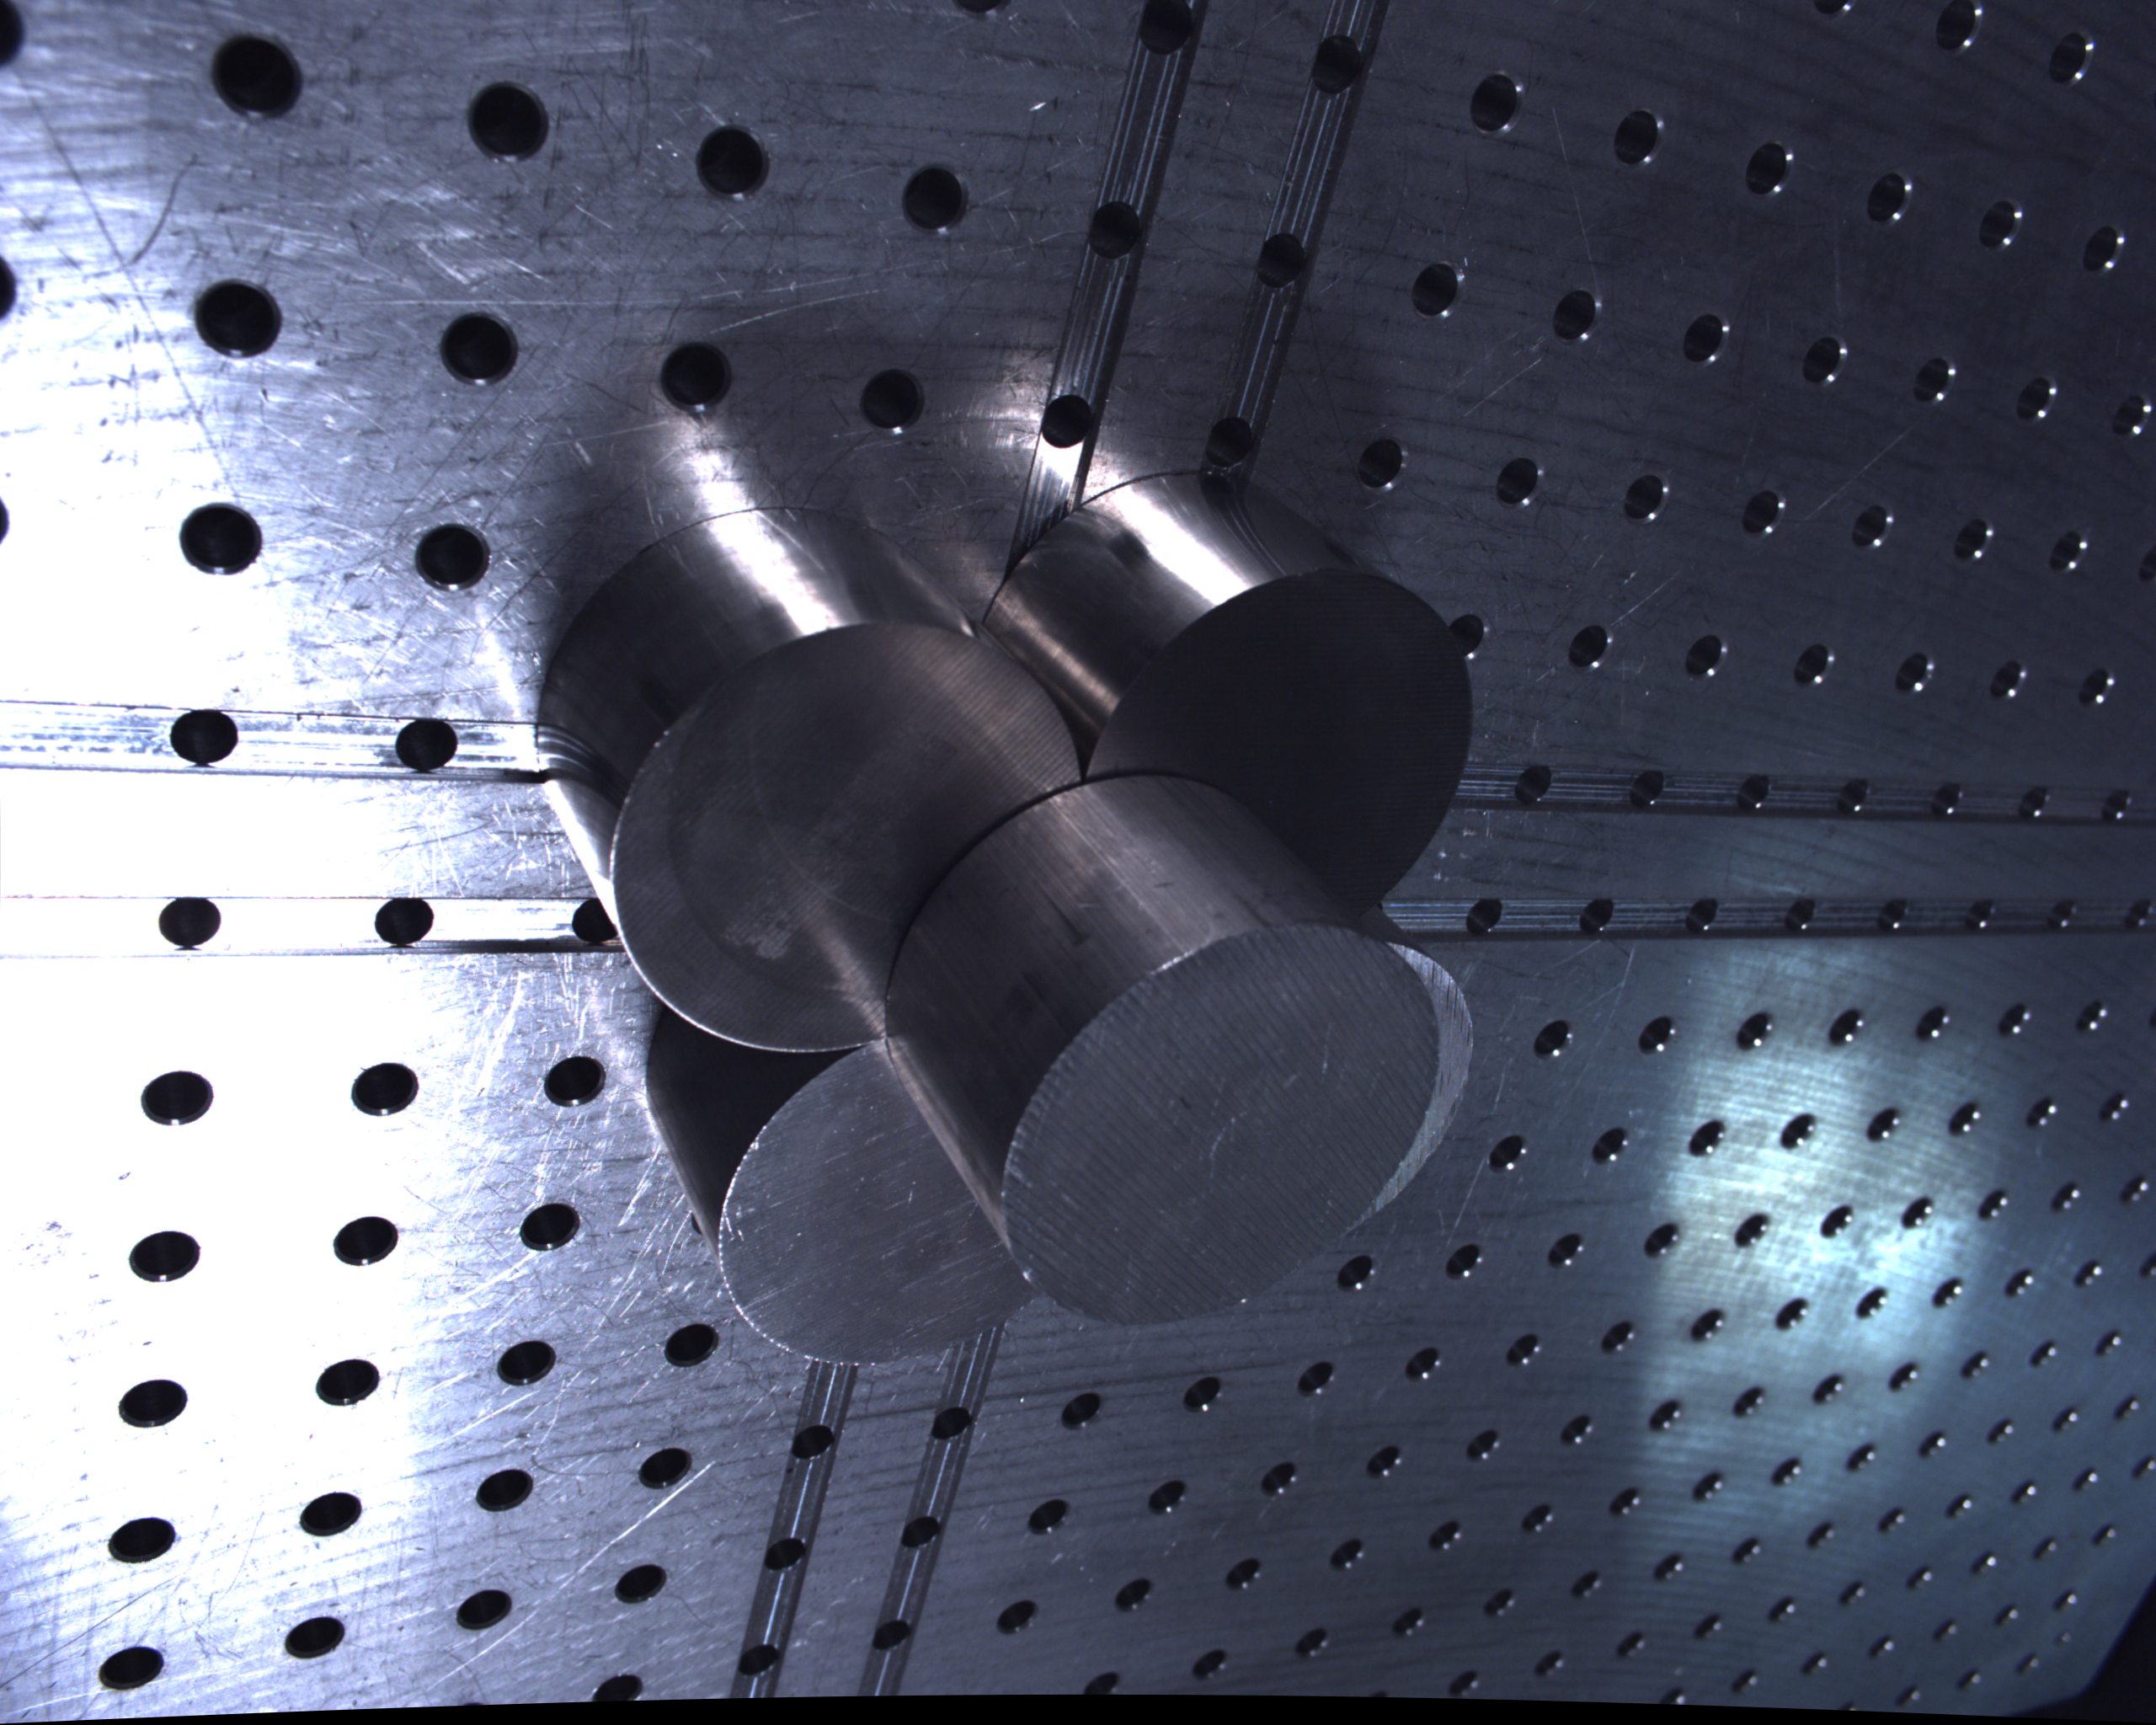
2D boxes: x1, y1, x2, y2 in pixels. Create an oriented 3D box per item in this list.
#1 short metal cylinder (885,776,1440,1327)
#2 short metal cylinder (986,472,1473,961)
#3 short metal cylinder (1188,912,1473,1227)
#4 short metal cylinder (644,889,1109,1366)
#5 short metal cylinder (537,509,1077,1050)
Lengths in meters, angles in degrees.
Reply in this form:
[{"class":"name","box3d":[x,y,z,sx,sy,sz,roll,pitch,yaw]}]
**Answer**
[{"class":"short metal cylinder","box3d":[0.014,0.032,0.357,0.081,0.050,0.079,-15,126,-21]},{"class":"short metal cylinder","box3d":[0.026,-0.027,0.393,0.081,0.050,0.079,-14,125,-21]},{"class":"short metal cylinder","box3d":[0.035,0.038,0.439,0.081,0.050,0.079,-14,125,-21]},{"class":"short metal cylinder","box3d":[-0.038,0.050,0.406,0.081,0.050,0.079,-14,125,-21]},{"class":"short metal cylinder","box3d":[-0.047,-0.015,0.360,0.081,0.050,0.079,-14,125,-21]}]
